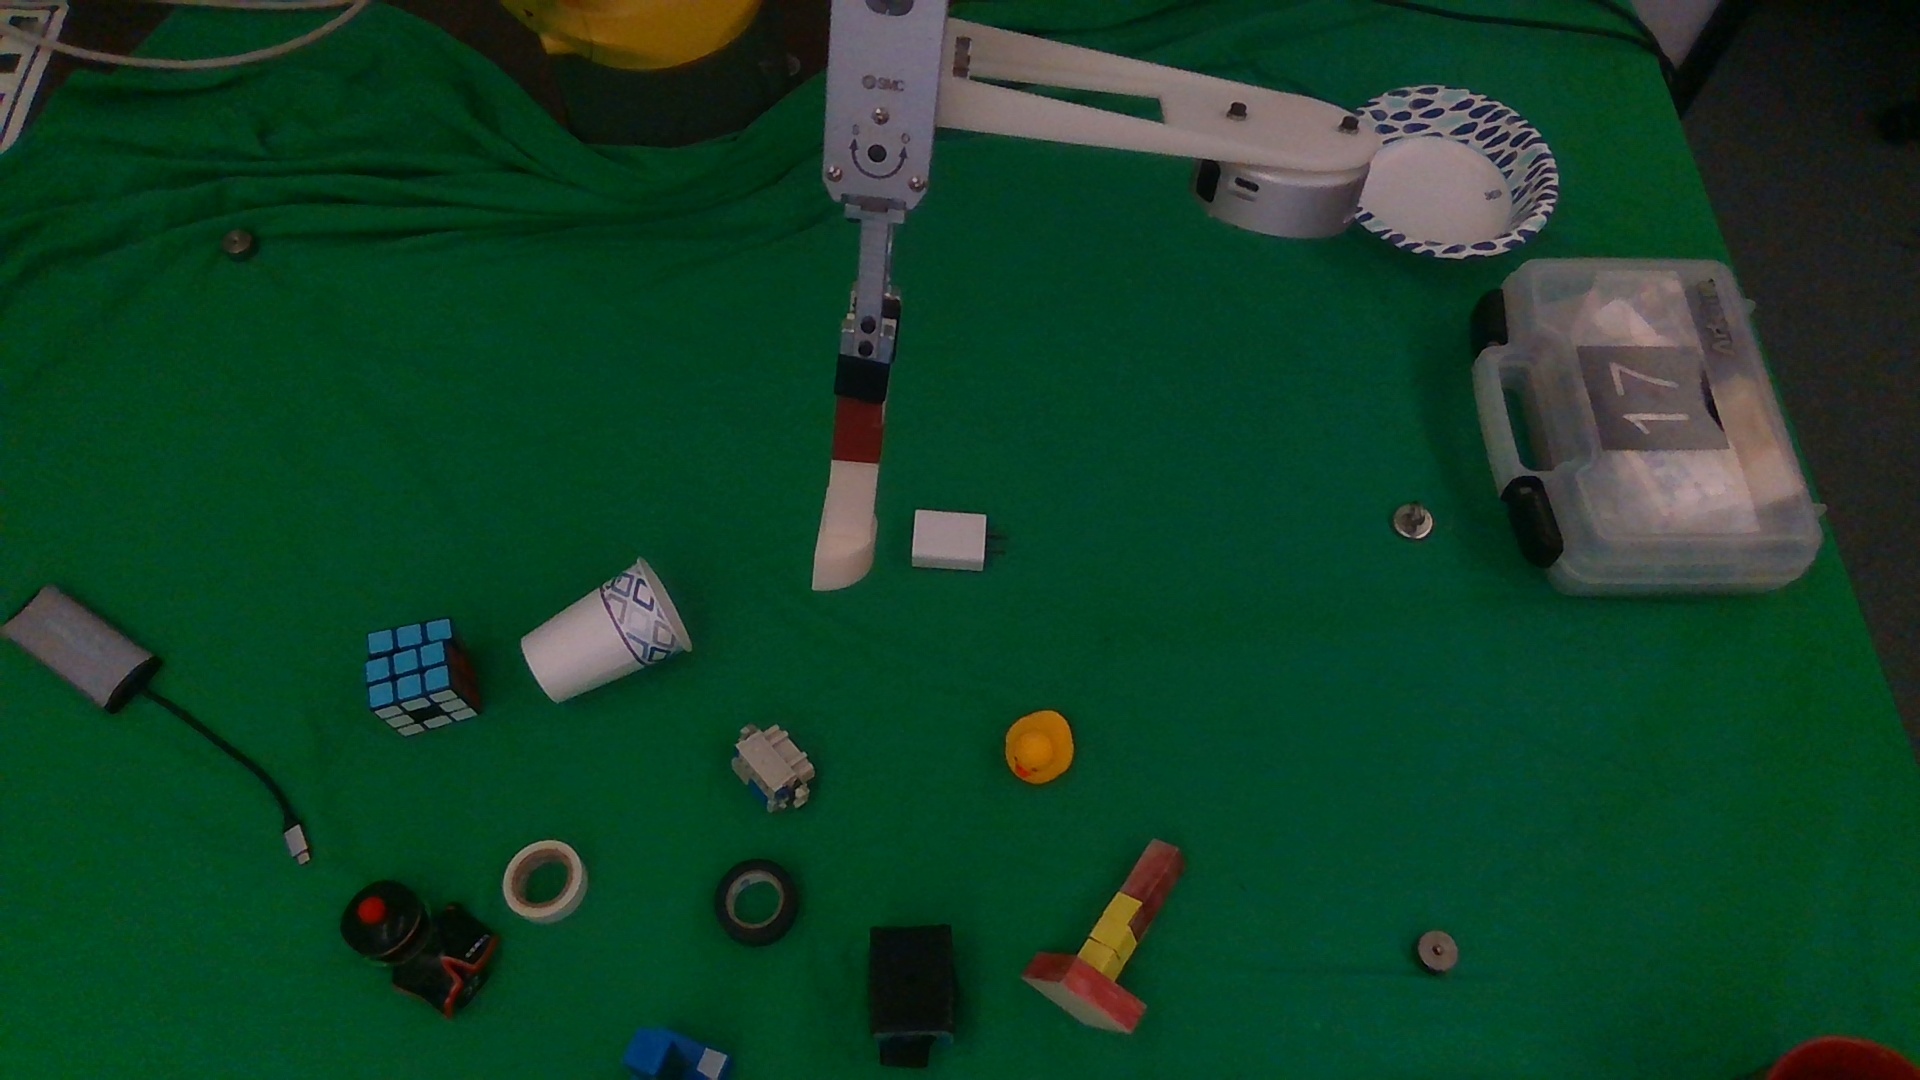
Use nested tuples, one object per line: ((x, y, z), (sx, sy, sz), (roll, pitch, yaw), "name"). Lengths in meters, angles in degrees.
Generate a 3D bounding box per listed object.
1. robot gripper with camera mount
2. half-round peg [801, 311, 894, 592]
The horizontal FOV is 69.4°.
((0.047, -0.123, 0.519), (0.193, 0.158, 0.119), (5, 40, 0), "robot gripper with camera mount")
((-0.046, -0.038, 0.585), (0.031, 0.122, 0.054), (9, 39, -1), "half-round peg")
